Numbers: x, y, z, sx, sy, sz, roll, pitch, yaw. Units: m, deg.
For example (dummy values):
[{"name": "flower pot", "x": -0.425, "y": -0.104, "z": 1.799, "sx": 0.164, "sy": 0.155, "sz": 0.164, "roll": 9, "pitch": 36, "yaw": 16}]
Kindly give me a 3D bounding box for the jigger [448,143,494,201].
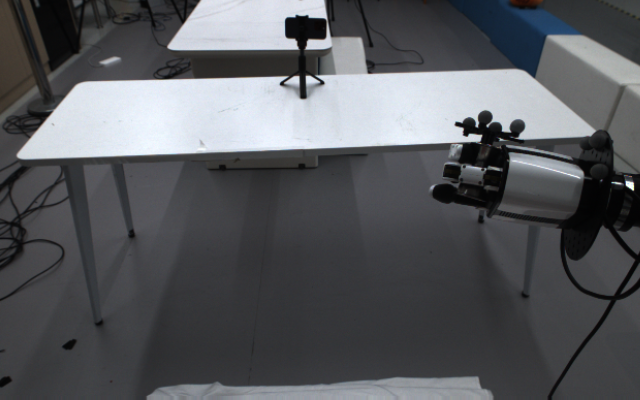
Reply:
[{"name": "jigger", "x": 0.201, "y": -0.036, "z": 0.615, "sx": 0.043, "sy": 0.071, "sz": 0.043, "roll": 17, "pitch": 2, "yaw": -1}]
